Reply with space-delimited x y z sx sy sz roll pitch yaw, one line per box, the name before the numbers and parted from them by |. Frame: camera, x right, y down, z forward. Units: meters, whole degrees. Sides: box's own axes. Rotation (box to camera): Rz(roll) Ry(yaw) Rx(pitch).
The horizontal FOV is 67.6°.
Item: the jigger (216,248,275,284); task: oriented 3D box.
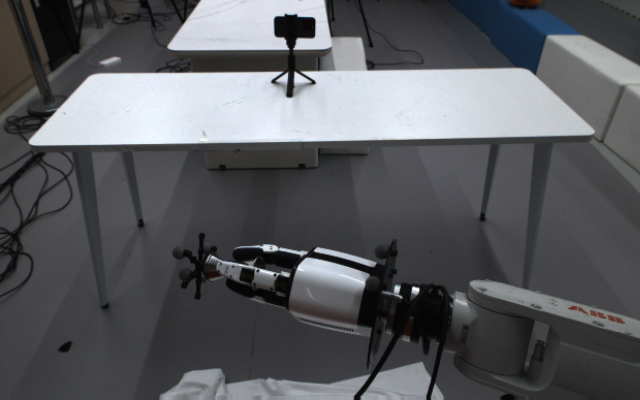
jigger | -0.103 0.087 0.634 0.071 0.043 0.043 3 34 15
